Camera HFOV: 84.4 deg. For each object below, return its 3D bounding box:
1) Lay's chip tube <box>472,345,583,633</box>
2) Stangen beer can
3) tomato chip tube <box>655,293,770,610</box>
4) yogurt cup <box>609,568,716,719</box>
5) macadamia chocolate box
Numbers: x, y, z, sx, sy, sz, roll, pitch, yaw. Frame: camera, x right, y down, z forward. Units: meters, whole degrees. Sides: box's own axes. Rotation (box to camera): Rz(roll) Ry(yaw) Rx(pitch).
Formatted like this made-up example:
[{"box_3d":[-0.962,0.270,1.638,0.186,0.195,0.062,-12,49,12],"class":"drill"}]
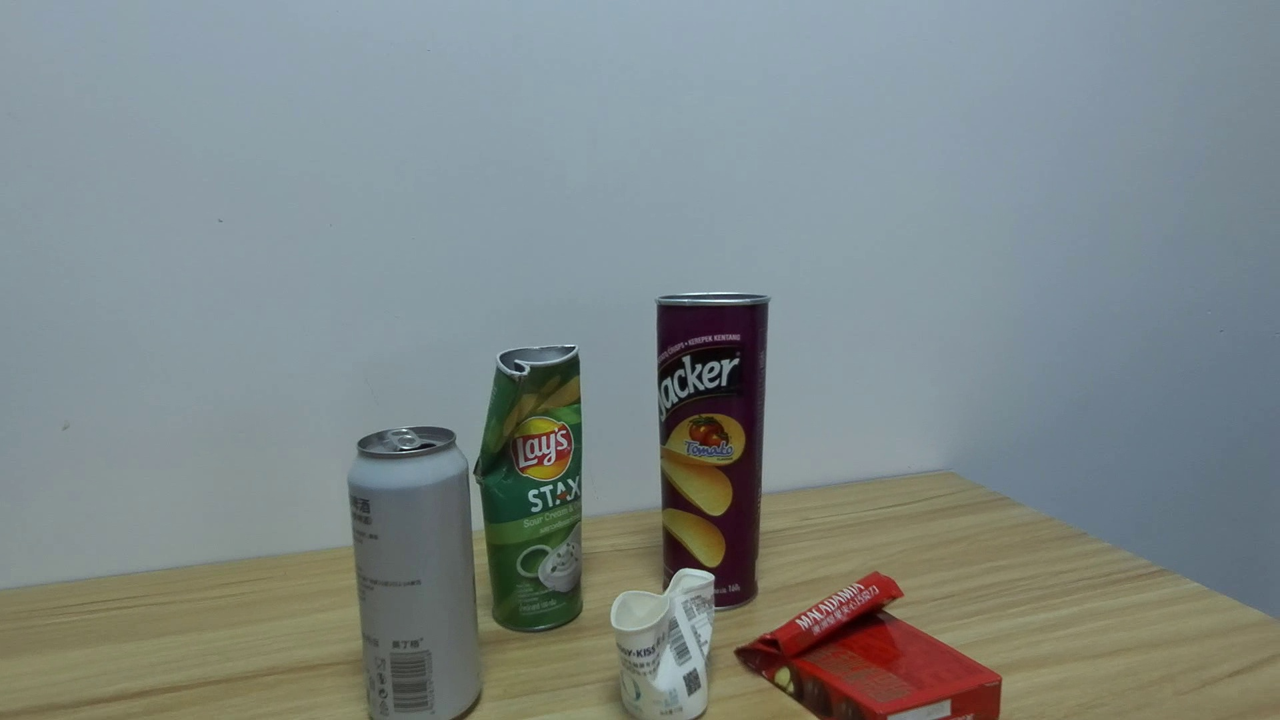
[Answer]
[{"box_3d":[-0.078,0.093,0.522,0.069,0.201,0.077,0,13,1],"class":"Lay's chip tube"},{"box_3d":[-0.131,0.128,0.417,0.067,0.171,0.067,-2,9,1],"class":"Stangen beer can"},{"box_3d":[0.056,0.069,0.545,0.080,0.234,0.077,7,12,39],"class":"tomato chip tube"},{"box_3d":[0.015,0.172,0.424,0.053,0.071,0.075,3,13,14],"class":"yogurt cup"},{"box_3d":[0.138,0.189,0.438,0.112,0.056,0.126,-20,19,-18],"class":"macadamia chocolate box"}]
